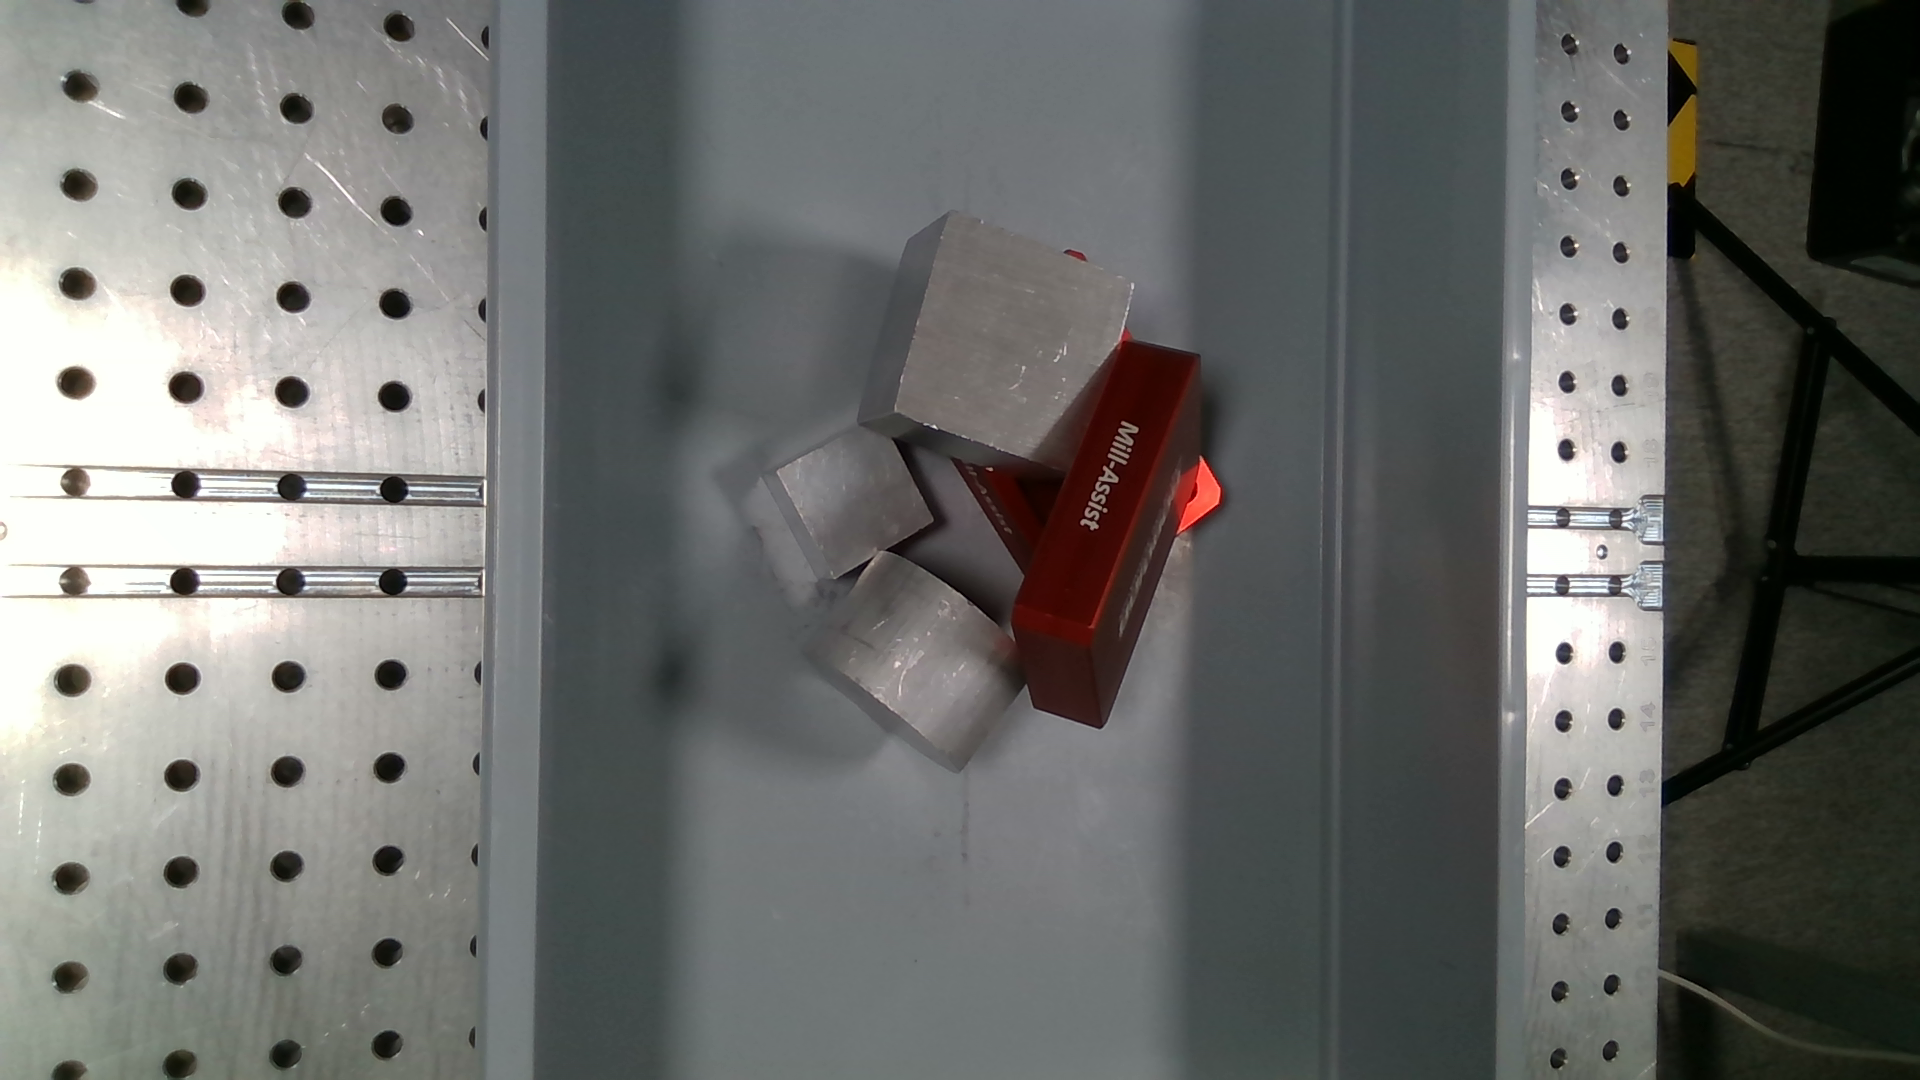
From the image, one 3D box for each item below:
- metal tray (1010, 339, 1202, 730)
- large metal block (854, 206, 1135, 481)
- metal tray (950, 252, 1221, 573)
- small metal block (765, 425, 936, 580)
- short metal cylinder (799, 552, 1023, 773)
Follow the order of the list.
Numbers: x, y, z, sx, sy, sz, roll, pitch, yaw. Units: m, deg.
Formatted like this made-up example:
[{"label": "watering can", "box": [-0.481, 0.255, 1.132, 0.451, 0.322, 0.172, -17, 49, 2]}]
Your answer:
[{"label": "metal tray", "box": [0.061, -0.002, 0.542, 0.030, 0.090, 0.130, 16, 65, 18]}, {"label": "large metal block", "box": [0.013, -0.074, 0.542, 0.080, 0.050, 0.080, 17, 84, -19]}, {"label": "metal tray", "box": [0.044, -0.047, 0.598, 0.090, 0.030, 0.130, -36, 102, -17]}, {"label": "small metal block", "box": [-0.046, -0.018, 0.568, 0.050, 0.025, 0.050, -31, 100, -18]}, {"label": "short metal cylinder", "box": [-0.017, 0.049, 0.550, 0.080, 0.080, 0.050, 41, 77, -16]}]
